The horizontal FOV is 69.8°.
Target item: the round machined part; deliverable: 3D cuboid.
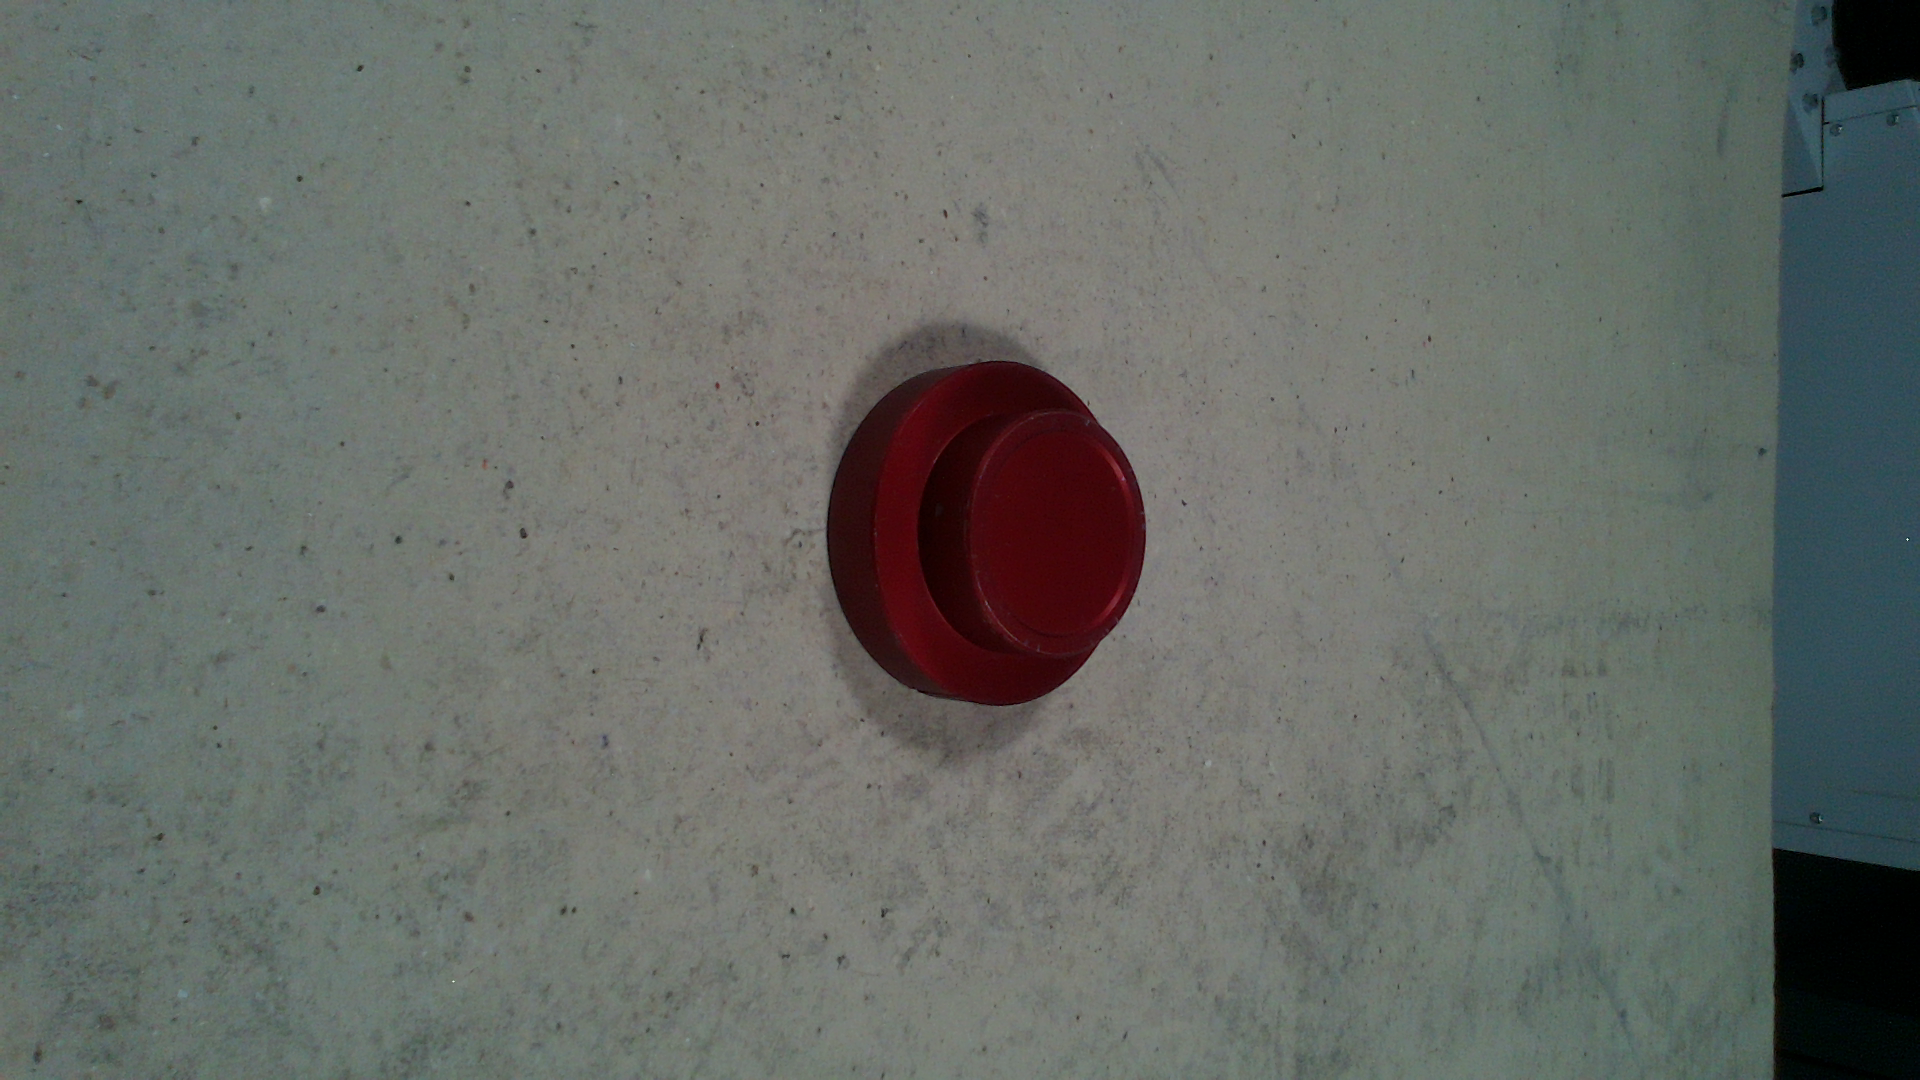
[{"bbox_3d":[0.015,-0.002,0.390,0.098,0.042,0.098,0,90,-40],"label":"round machined part"}]
